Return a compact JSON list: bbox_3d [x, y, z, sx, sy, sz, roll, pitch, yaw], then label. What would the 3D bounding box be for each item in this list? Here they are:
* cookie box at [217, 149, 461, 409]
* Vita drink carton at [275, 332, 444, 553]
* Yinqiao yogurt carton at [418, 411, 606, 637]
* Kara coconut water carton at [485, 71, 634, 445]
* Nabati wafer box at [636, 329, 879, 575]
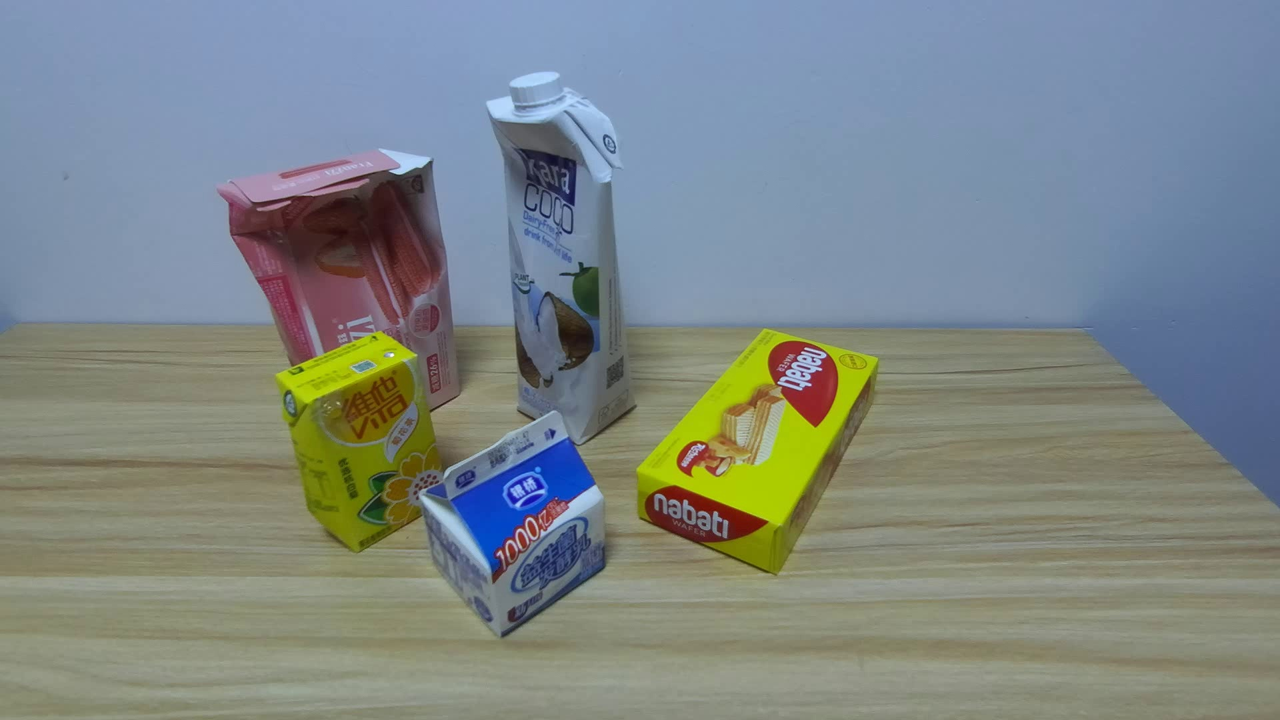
[{"bbox_3d":[-0.187,-0.037,0.474,0.055,0.184,0.119,27,42,34],"label":"cookie box"},{"bbox_3d":[-0.160,0.049,0.407,0.043,0.109,0.077,26,40,35],"label":"Vita drink carton"},{"bbox_3d":[-0.069,0.078,0.379,0.076,0.092,0.073,-27,42,-33],"label":"Yinqiao yogurt carton"},{"bbox_3d":[-0.050,-0.063,0.466,0.114,0.239,0.069,25,41,35],"label":"Kara coconut water carton"},{"bbox_3d":[0.088,0.048,0.475,0.092,0.042,0.203,18,36,25],"label":"Nabati wafer box"}]
